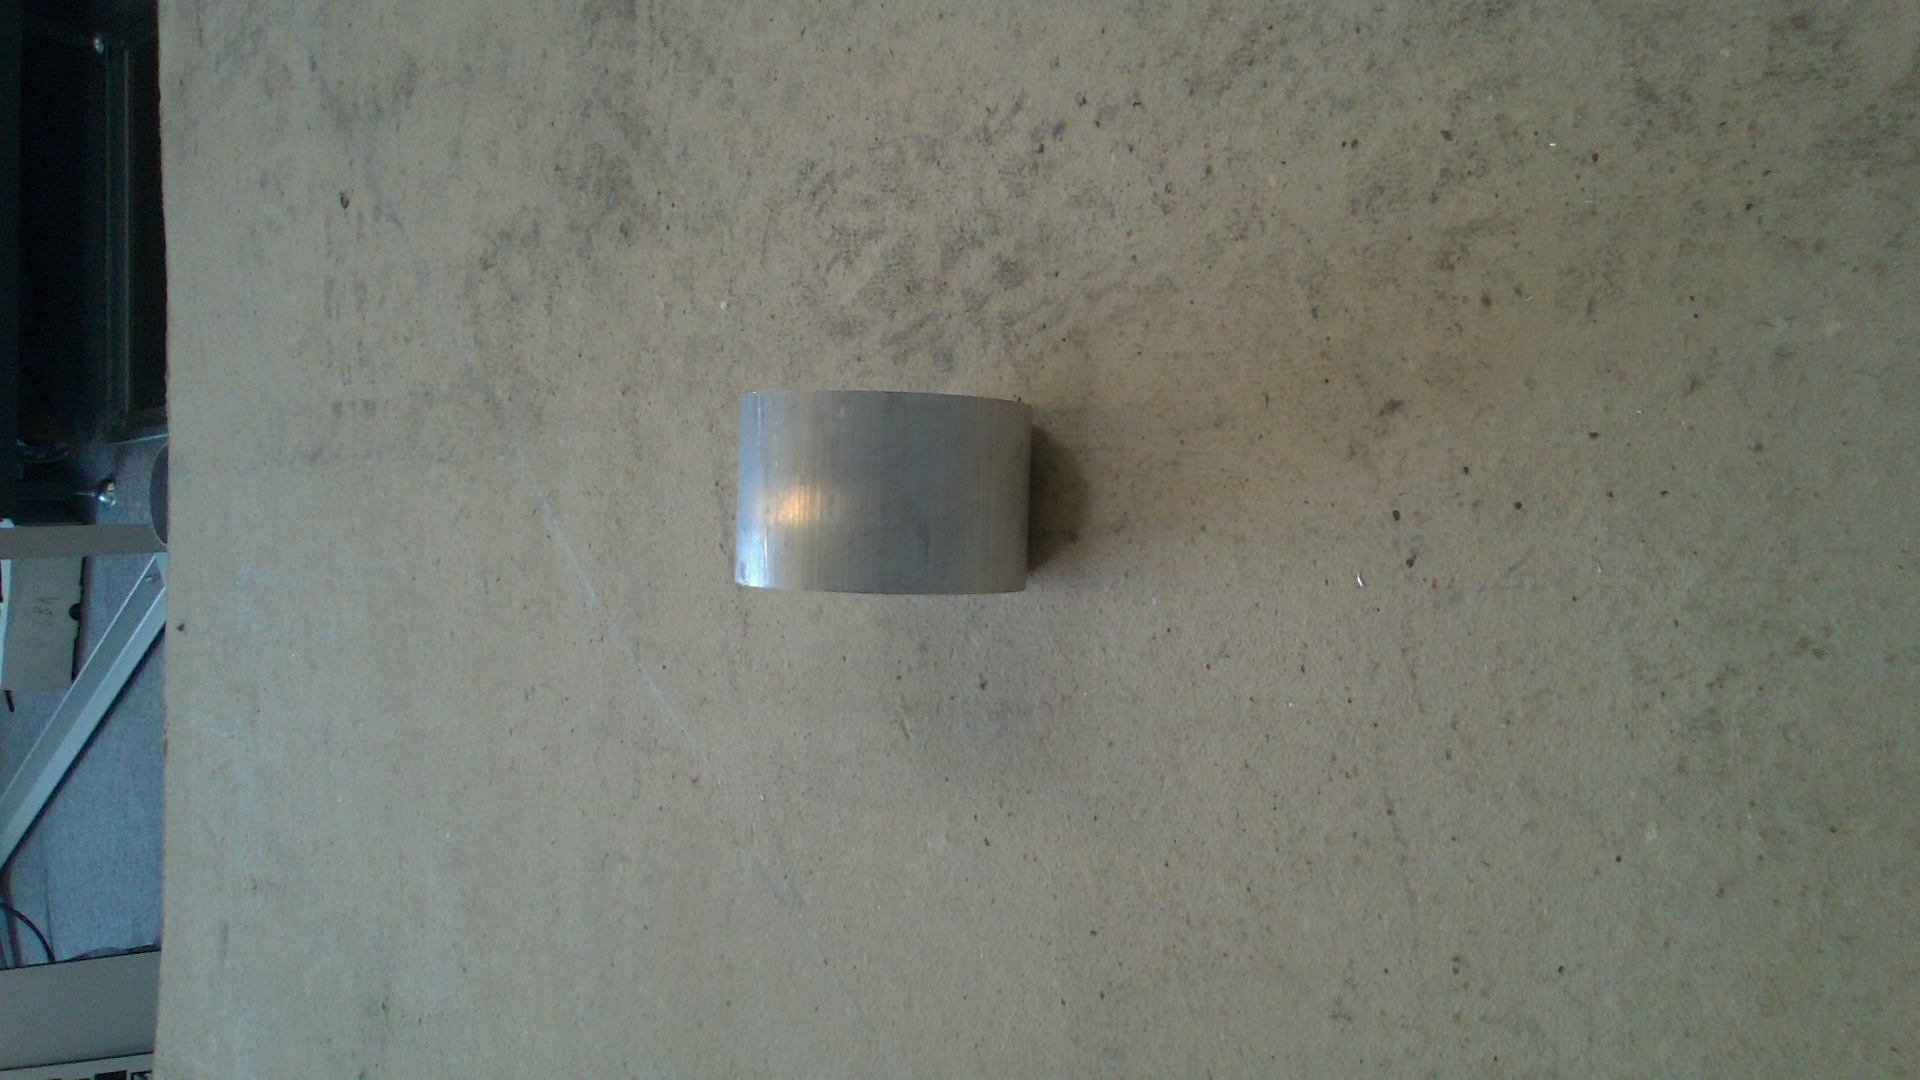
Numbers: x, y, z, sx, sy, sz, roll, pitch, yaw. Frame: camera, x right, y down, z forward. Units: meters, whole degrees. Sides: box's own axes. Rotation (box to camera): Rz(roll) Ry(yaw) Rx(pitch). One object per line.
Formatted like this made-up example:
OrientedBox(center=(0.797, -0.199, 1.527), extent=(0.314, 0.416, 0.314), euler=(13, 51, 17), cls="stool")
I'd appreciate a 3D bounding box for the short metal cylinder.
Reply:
OrientedBox(center=(-0.021, -0.013, 0.377), extent=(0.080, 0.080, 0.050), euler=(2, 92, 40), cls="short metal cylinder")
